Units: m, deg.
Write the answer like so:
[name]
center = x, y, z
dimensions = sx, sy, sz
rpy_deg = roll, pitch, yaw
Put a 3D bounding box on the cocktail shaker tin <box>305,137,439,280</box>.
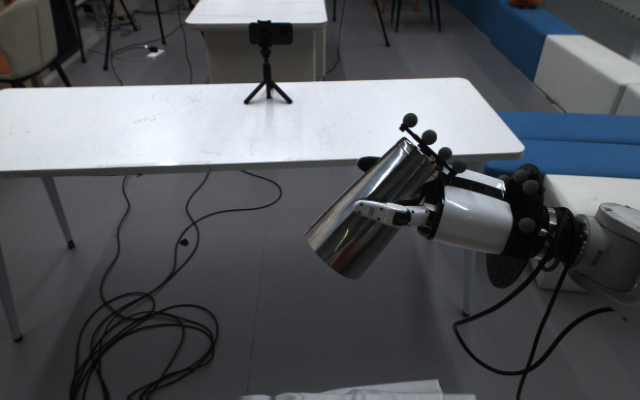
[cocktail shaker tin]
center = 0.071, 0.003, 0.604
dimensions = 0.093, 0.170, 0.093
rpy_deg = 41, 12, -11
